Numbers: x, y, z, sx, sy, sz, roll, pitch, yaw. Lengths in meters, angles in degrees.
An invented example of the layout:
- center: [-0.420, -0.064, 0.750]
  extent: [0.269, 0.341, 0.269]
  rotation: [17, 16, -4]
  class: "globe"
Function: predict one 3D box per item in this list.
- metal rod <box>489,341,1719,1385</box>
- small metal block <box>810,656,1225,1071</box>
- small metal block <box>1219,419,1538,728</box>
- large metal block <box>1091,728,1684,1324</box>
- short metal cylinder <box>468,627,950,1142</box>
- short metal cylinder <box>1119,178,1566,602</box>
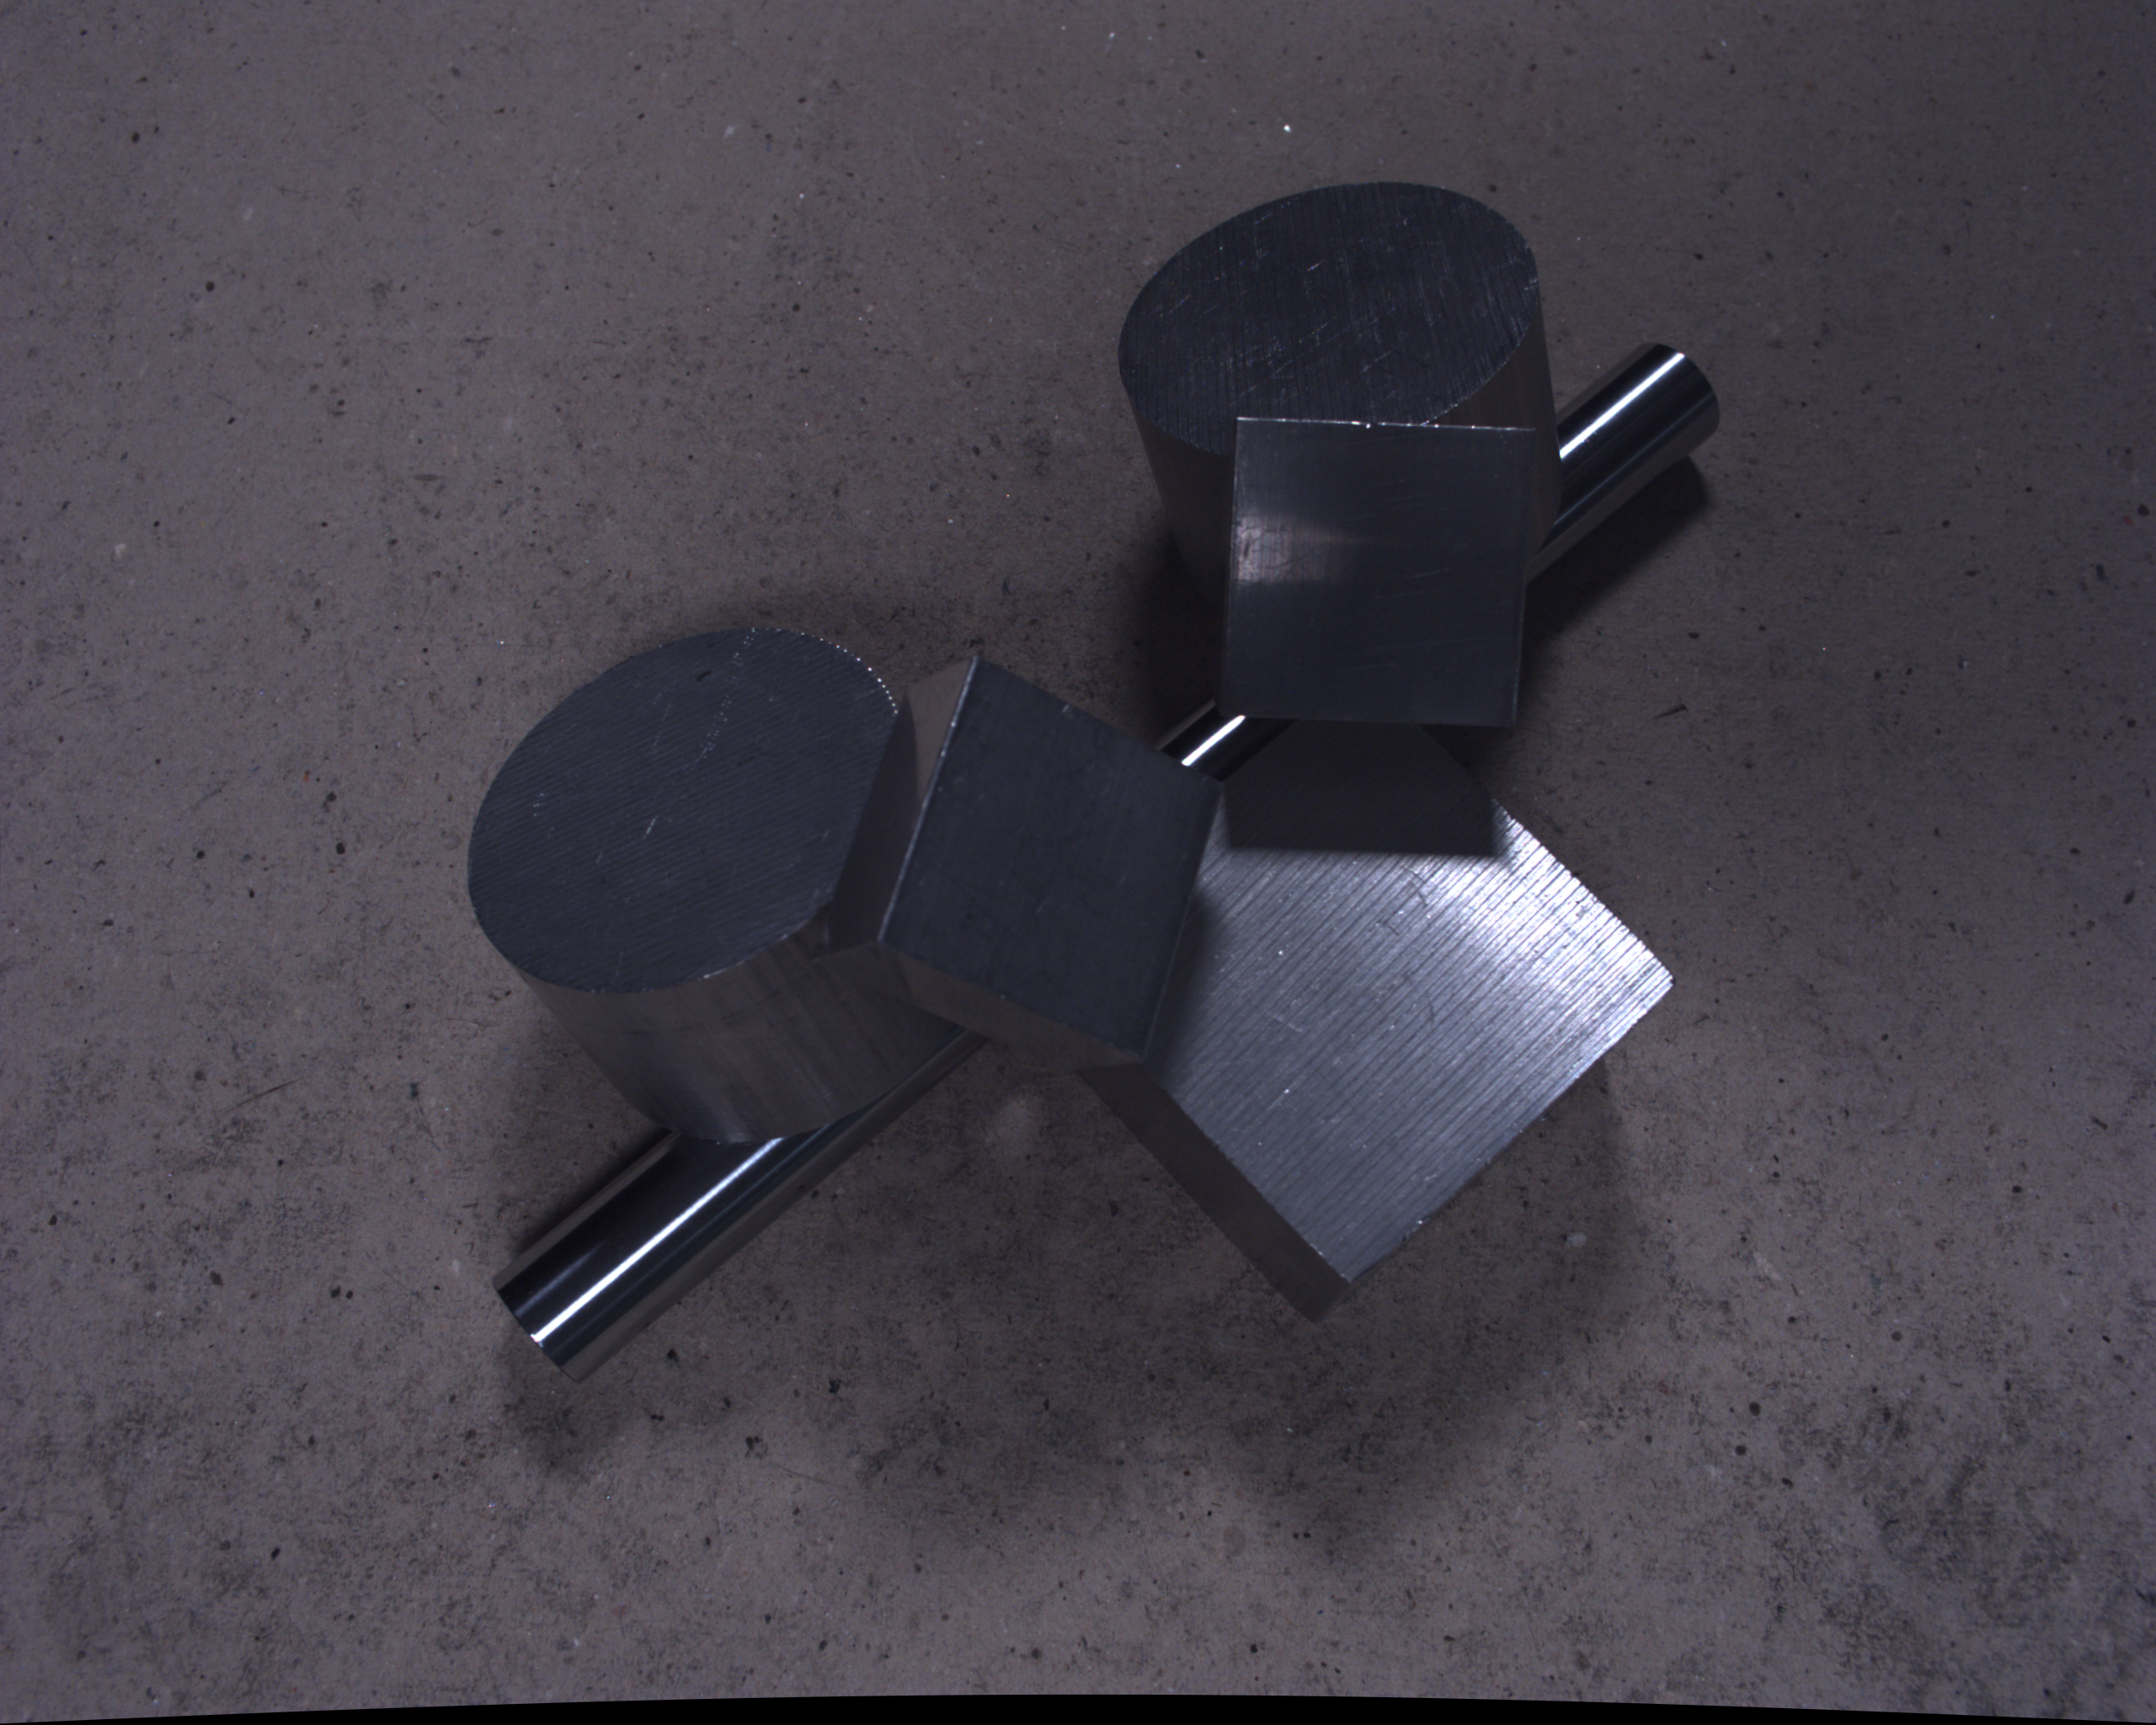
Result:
- center: [0.015, -0.008, 0.412]
  extent: [0.301, 0.025, 0.025]
  rotation: [-39, 75, -14]
  class: "metal rod"
- center: [-0.009, 0.001, 0.343]
  extent: [0.050, 0.025, 0.050]
  rotation: [26, 69, -25]
  class: "small metal block"
- center: [0.050, -0.051, 0.362]
  extent: [0.050, 0.025, 0.050]
  rotation: [2, 101, 0]
  class: "small metal block"
- center: [0.048, 0.026, 0.385]
  extent: [0.080, 0.050, 0.080]
  rotation: [-40, 75, -13]
  class: "large metal block"
- center: [-0.062, 0.004, 0.379]
  extent: [0.080, 0.050, 0.080]
  rotation: [-9, 51, 12]
  class: "short metal cylinder"
- center: [0.053, -0.090, 0.414]
  extent: [0.080, 0.050, 0.080]
  rotation: [-9, 51, 12]
  class: "short metal cylinder"
